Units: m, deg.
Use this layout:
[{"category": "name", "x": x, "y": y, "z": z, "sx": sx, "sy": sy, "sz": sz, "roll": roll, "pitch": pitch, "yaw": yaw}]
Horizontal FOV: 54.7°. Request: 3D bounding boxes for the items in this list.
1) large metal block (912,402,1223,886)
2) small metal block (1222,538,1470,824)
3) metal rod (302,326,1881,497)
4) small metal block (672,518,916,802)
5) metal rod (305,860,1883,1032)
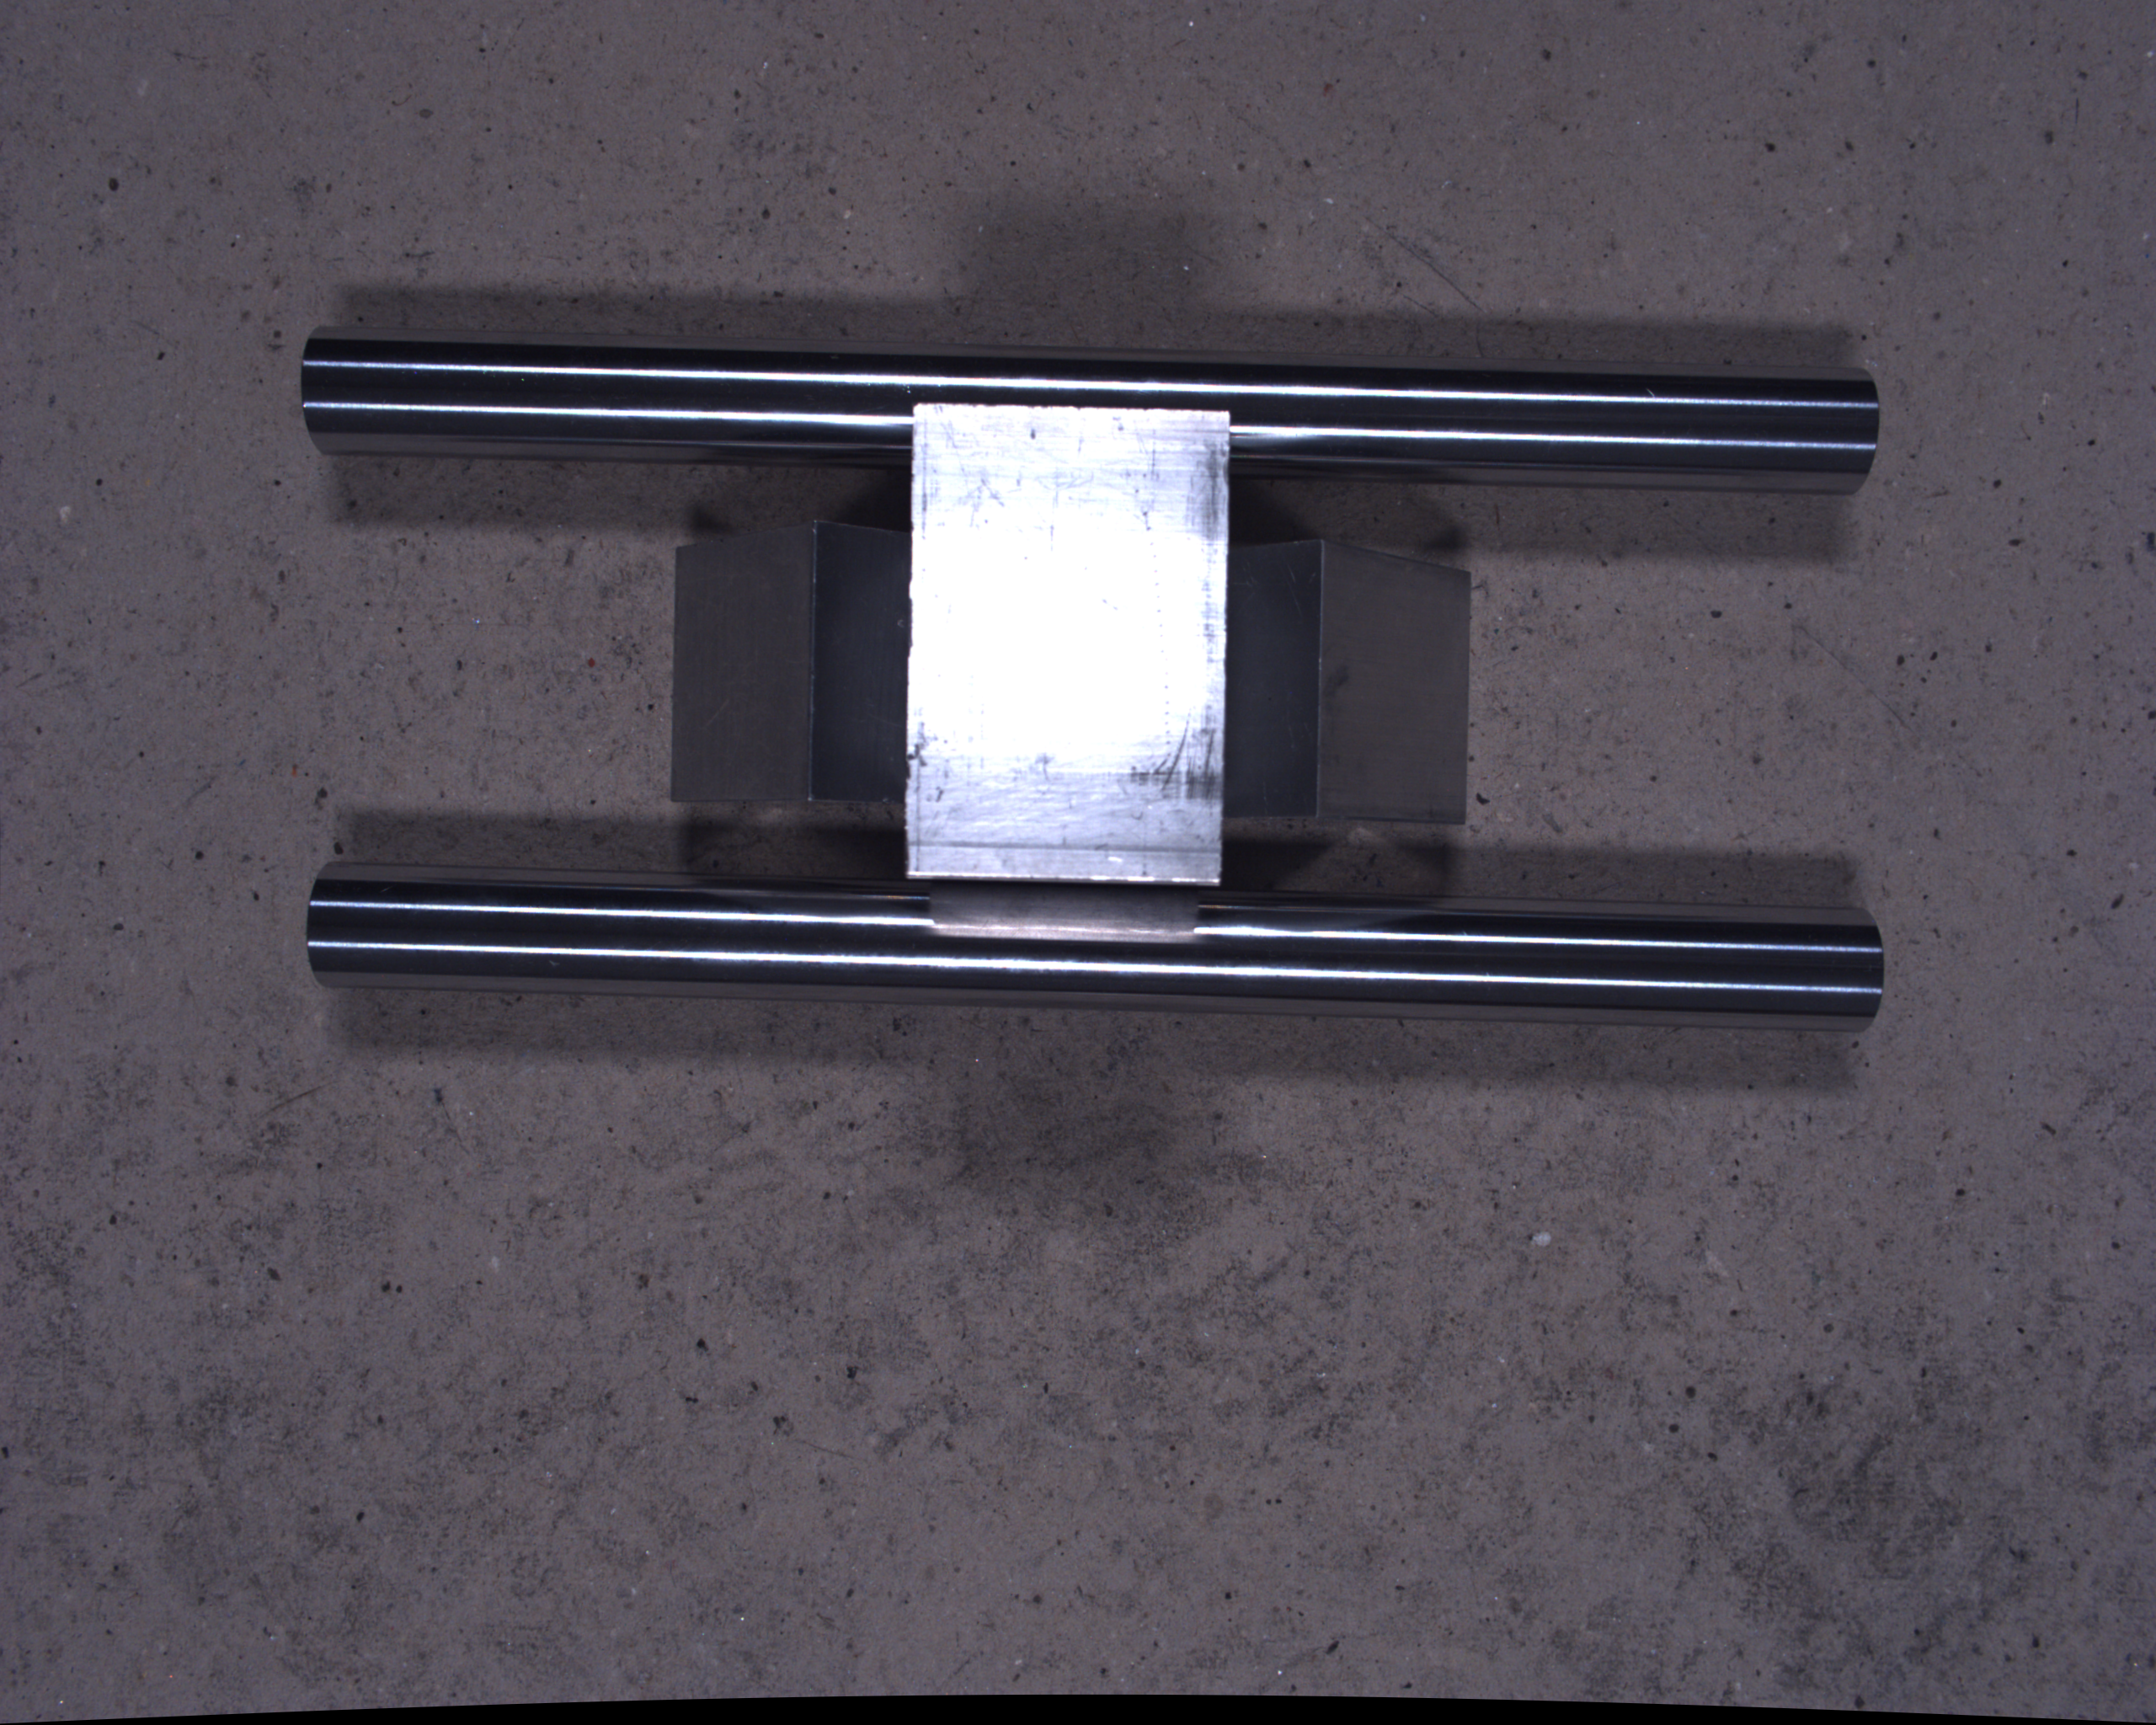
[{"category": "large metal block", "x": -0.002, "y": -0.037, "z": 0.386, "sx": 0.050, "sy": 0.080, "sz": 0.079, "roll": 1, "pitch": 90, "yaw": 0}, {"category": "small metal block", "x": 0.051, "y": -0.033, "z": 0.398, "sx": 0.025, "sy": 0.050, "sz": 0.050, "roll": 0, "pitch": 90, "yaw": 41}, {"category": "metal rod", "x": 0.003, "y": -0.089, "z": 0.411, "sx": 0.302, "sy": 0.025, "sz": 0.025, "roll": 1, "pitch": 90, "yaw": -1}, {"category": "small metal block", "x": -0.053, "y": -0.037, "z": 0.397, "sx": 0.025, "sy": 0.050, "sz": 0.050, "roll": 1, "pitch": 91, "yaw": -40}, {"category": "metal rod", "x": 0.004, "y": 0.017, "z": 0.411, "sx": 0.302, "sy": 0.025, "sz": 0.025, "roll": 2, "pitch": 90, "yaw": -1}]
